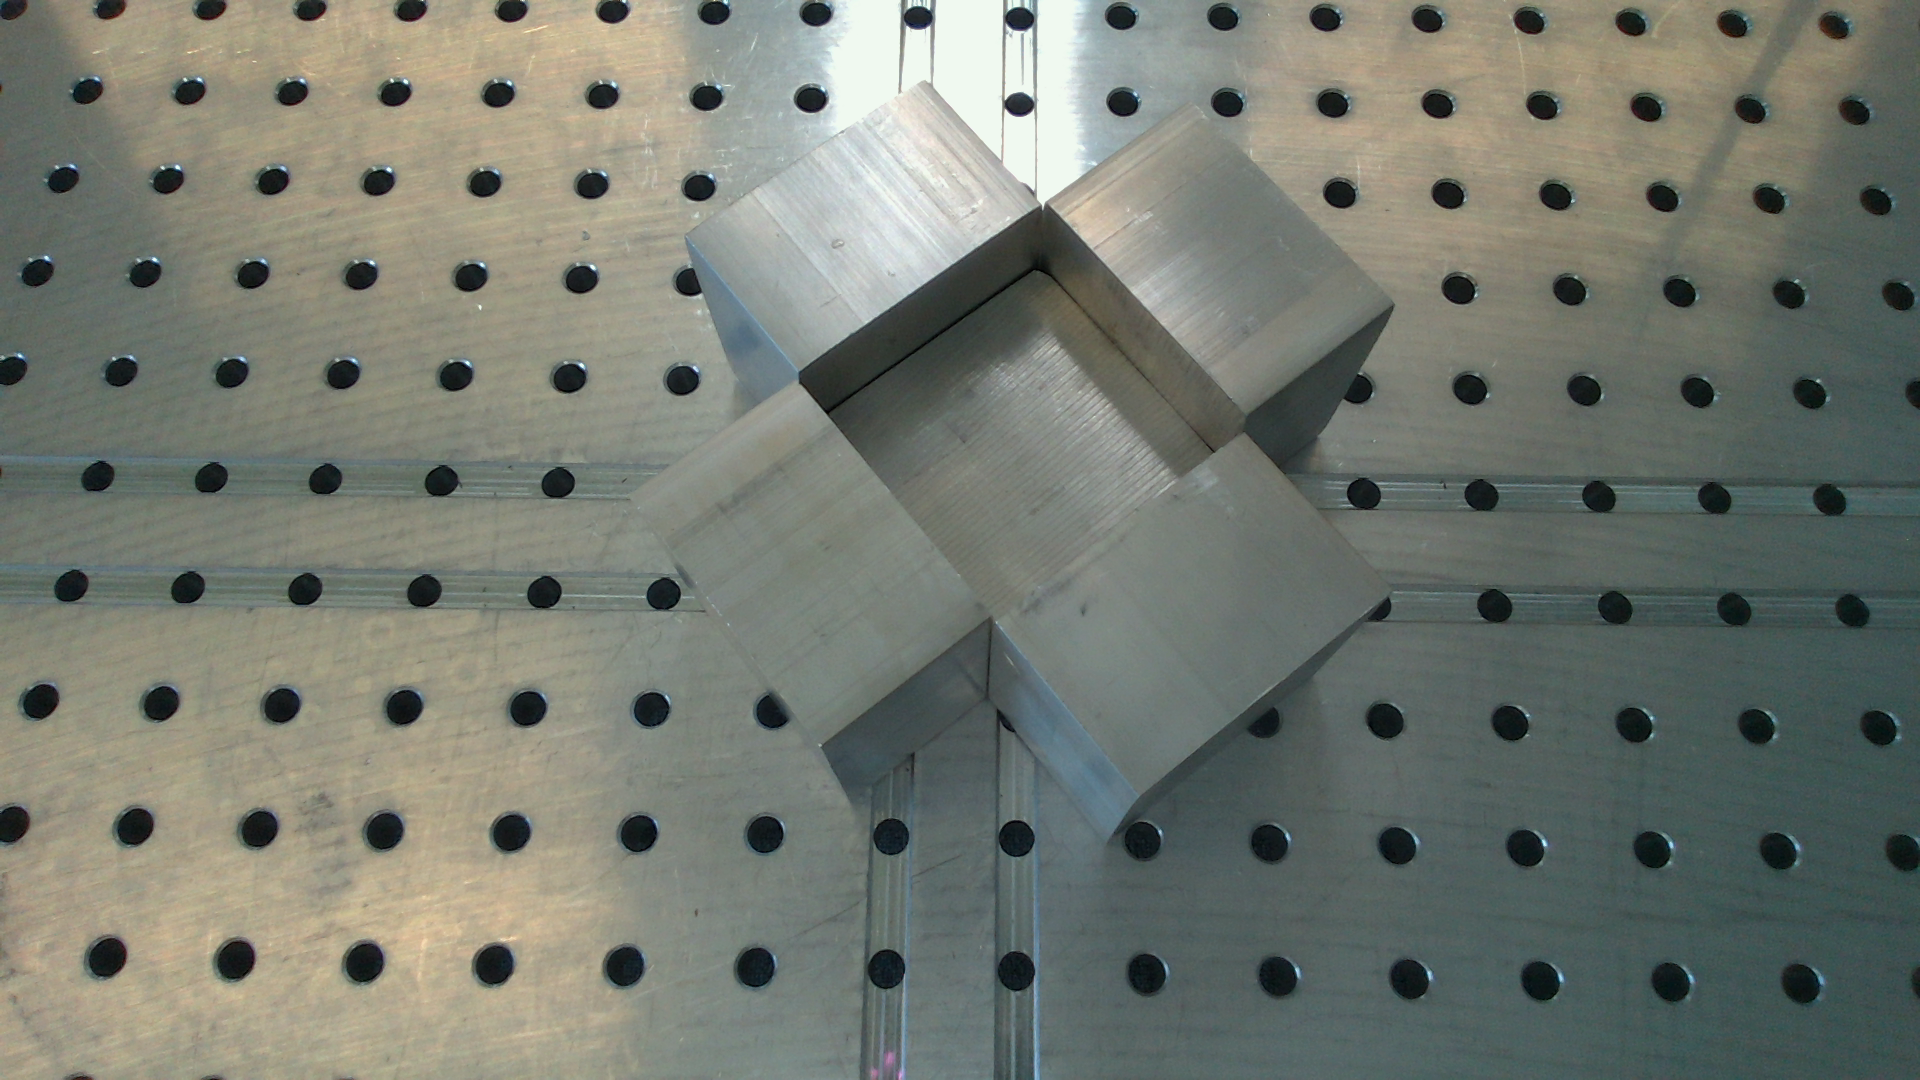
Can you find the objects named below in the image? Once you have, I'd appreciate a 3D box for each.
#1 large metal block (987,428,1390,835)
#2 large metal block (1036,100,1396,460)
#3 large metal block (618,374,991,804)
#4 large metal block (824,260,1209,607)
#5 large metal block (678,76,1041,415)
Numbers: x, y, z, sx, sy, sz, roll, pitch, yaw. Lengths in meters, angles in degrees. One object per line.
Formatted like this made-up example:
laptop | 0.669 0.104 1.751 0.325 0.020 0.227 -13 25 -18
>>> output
large metal block | 0.054 0.028 0.359 0.080 0.080 0.050 -35 74 -12
large metal block | 0.066 -0.060 0.390 0.050 0.080 0.080 -37 74 -13
large metal block | -0.037 0.017 0.361 0.050 0.080 0.080 -37 74 -12
large metal block | 0.015 -0.017 0.389 0.080 0.050 0.080 -37 73 -10
large metal block | -0.026 -0.070 0.393 0.080 0.080 0.050 -37 74 -12
